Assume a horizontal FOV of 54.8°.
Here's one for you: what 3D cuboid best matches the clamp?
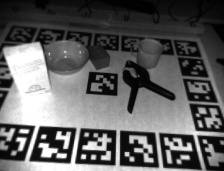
[{"bbox_3d":[0.078,-0.024,0.729,0.166,0.037,0.201,-16,56,-16],"label":"clamp"}]

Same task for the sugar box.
[{"bbox_3d":[-0.246,-0.040,0.621,0.093,0.177,0.045,-16,57,-19],"label":"sugar box"}]

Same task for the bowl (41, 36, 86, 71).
[{"bbox_3d":[-0.173,-0.101,0.755,0.162,0.055,0.161,4,52,-5],"label":"bowl"}]

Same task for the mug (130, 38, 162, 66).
[{"bbox_3d":[0.115,-0.133,0.795,0.116,0.081,0.093,26,54,10],"label":"mug"}]

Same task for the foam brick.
[{"bbox_3d":[-0.056,-0.110,0.786,0.053,0.051,0.077,-19,57,-19],"label":"foam brick"}]
